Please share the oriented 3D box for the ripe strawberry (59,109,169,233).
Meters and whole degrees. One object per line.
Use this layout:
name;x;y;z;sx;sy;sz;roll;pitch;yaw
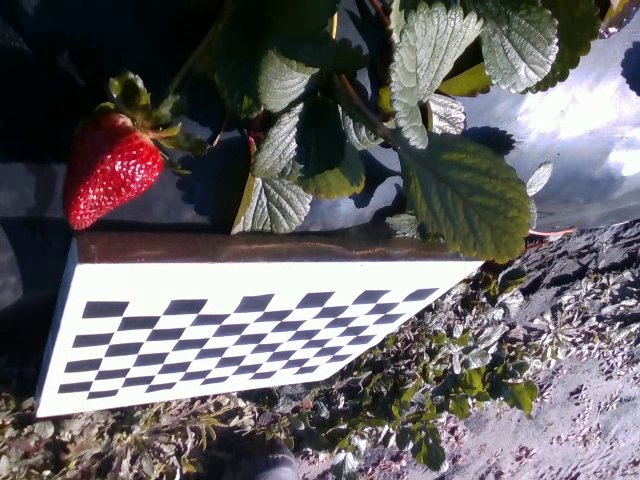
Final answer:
ripe strawberry;-0.100;-0.030;0.285;0.058;0.062;0.065;7;-16;22
